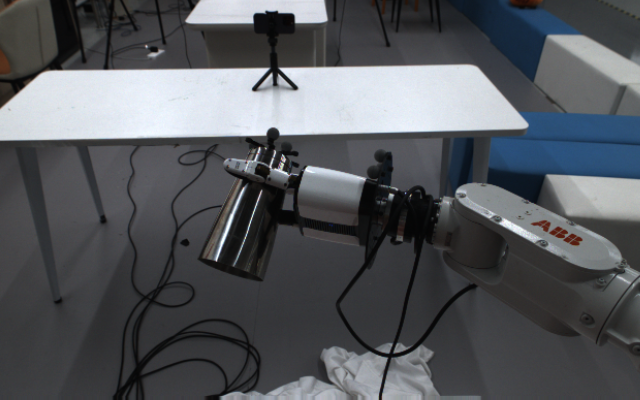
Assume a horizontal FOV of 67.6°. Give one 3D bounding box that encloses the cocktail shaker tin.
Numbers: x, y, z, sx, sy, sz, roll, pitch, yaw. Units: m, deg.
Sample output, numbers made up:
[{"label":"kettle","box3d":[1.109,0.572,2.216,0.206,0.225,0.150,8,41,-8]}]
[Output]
[{"label":"cocktail shaker tin","box3d":[-0.094,0.014,0.670,0.093,0.093,0.170,13,72,15]}]
